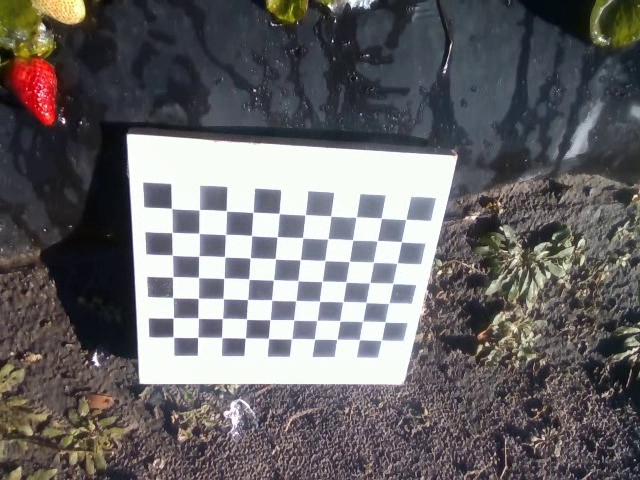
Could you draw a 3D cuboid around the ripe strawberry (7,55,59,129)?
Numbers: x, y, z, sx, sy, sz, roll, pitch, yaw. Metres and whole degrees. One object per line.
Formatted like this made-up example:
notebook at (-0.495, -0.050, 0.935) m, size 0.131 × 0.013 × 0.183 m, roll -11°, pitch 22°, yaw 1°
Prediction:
ripe strawberry at (-0.222, -0.111, 0.460) m, size 0.041 × 0.052 × 0.040 m, roll -14°, pitch 22°, yaw -2°
